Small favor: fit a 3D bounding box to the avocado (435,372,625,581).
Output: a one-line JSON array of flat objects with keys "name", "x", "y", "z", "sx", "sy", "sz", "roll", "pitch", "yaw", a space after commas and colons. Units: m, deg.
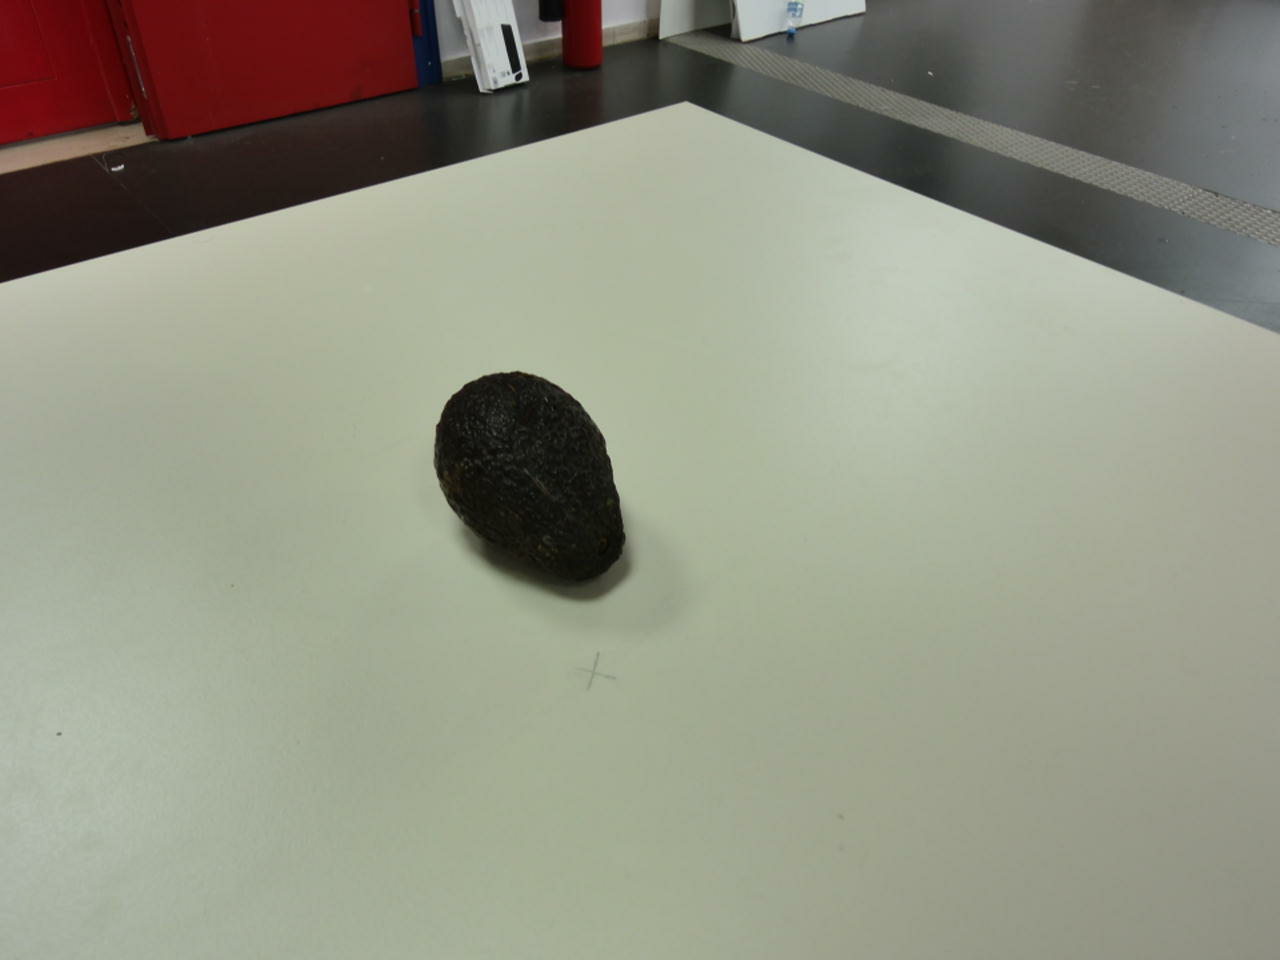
[{"name": "avocado", "x": -0.047, "y": -0.004, "z": 0.405, "sx": 0.070, "sy": 0.069, "sz": 0.090, "roll": -9, "pitch": 38, "yaw": -12}]
